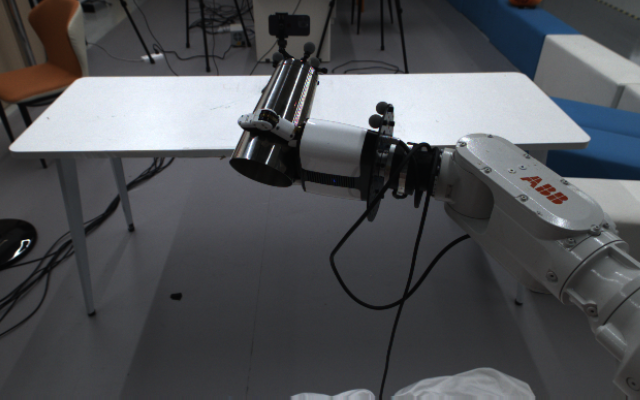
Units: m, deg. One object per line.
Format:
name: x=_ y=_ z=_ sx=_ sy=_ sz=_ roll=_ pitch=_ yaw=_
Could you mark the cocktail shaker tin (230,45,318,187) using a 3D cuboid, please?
cocktail shaker tin: x=-0.060 y=-0.115 z=0.695 sx=0.093 sy=0.093 sz=0.170 roll=14 pitch=72 yaw=16
